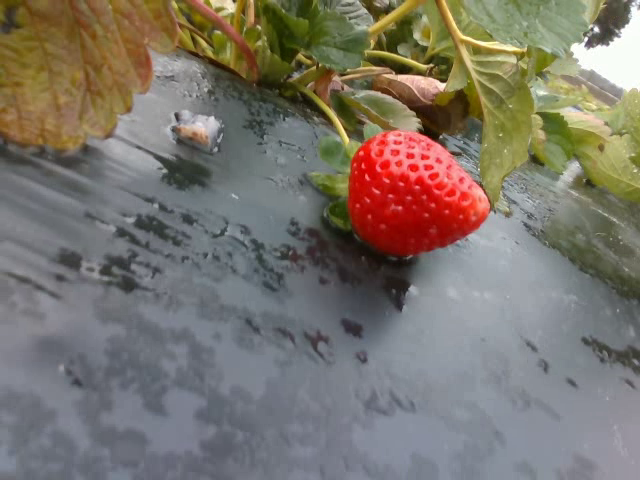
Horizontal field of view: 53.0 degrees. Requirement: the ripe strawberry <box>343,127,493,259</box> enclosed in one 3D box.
[{"bbox_3d":[0.032,-0.013,0.195,0.045,0.048,0.053,-9,22,-21],"label":"ripe strawberry"}]
